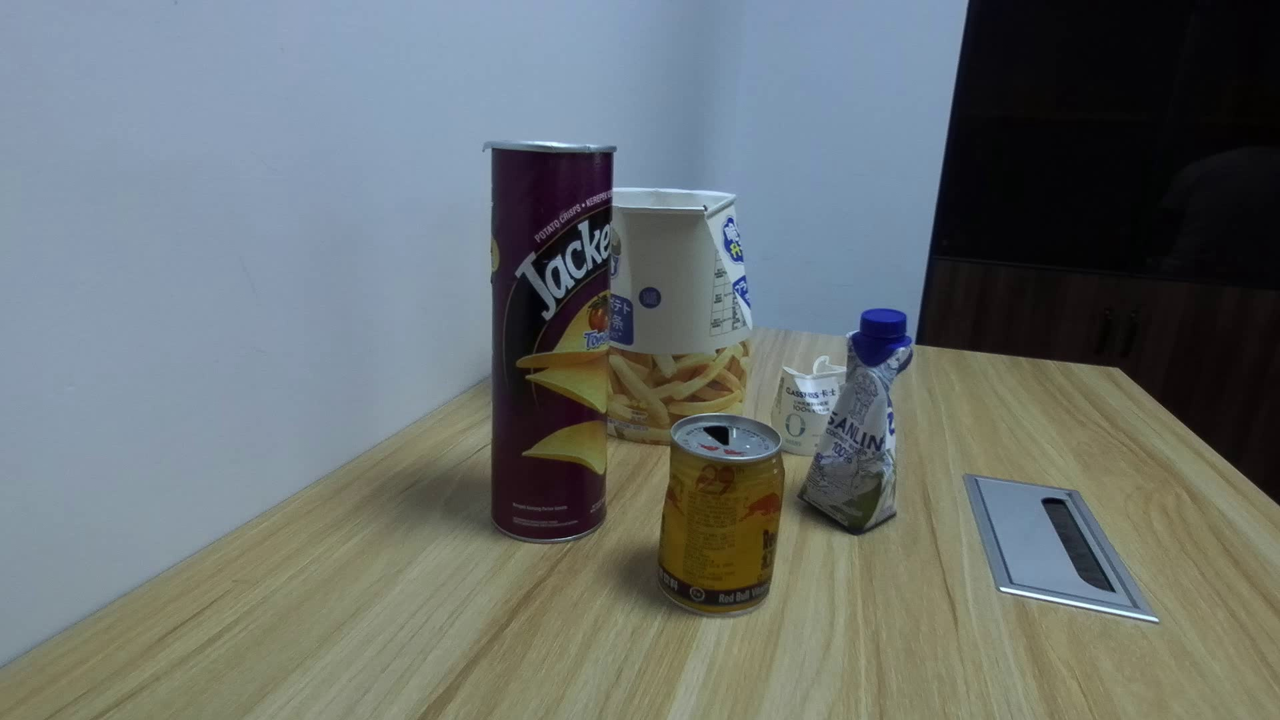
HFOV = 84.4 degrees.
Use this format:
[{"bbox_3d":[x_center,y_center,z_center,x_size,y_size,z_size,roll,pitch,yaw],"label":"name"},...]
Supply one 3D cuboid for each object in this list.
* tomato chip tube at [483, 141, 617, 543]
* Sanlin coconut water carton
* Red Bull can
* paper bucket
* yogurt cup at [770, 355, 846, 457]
[{"bbox_3d":[-0.053,-0.010,0.439,0.080,0.234,0.076,-10,20,-36],"label":"tomato chip tube"},{"bbox_3d":[0.159,0.039,0.471,0.069,0.144,0.056,-3,23,-43],"label":"Sanlin coconut water carton"},{"bbox_3d":[0.044,0.083,0.389,0.068,0.093,0.068,3,18,-1],"label":"Red Bull can"},{"bbox_3d":[0.026,-0.041,0.609,0.169,0.202,0.162,-4,20,-12],"label":"paper bucket"},{"bbox_3d":[0.138,0.038,0.579,0.055,0.072,0.055,-2,19,-13],"label":"yogurt cup"}]
